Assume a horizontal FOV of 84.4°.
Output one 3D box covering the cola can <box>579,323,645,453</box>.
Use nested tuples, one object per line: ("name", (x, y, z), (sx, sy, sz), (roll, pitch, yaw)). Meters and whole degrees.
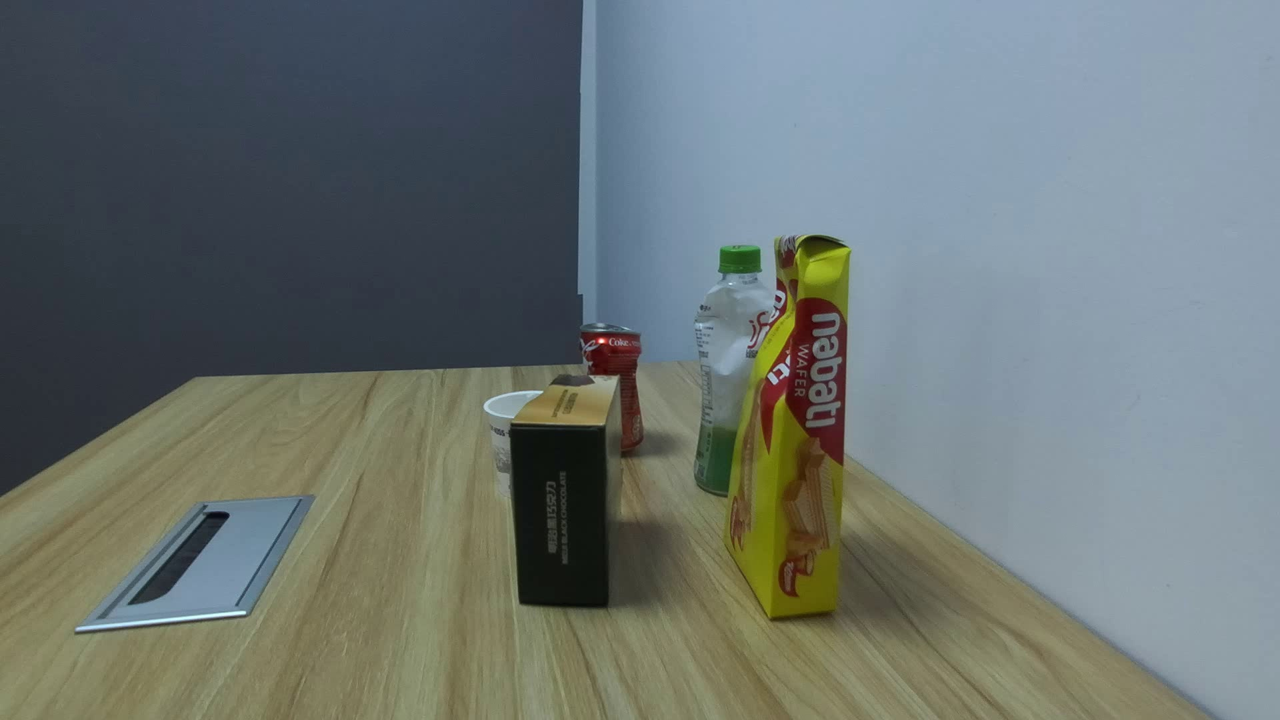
("cola can", (-0.028, 0.025, 0.640), (0.065, 0.112, 0.069), (3, 13, 10))

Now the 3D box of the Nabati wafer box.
("Nabati wafer box", (0.085, 0.033, 0.407), (0.043, 0.205, 0.113), (0, 12, -8))

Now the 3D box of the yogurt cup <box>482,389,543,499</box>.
("yogurt cup", (-0.129, 0.075, 0.774), (0.072, 0.068, 0.072), (-4, 15, 2))

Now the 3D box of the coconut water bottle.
("coconut water bottle", (0.076, 0.007, 0.545), (0.069, 0.187, 0.069), (2, 13, 0))
